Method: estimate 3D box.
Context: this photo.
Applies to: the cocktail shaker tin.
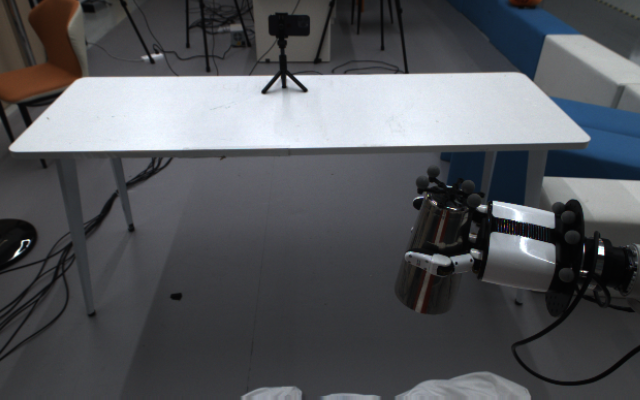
[{"bbox_3d":[0.166,0.067,0.686,0.093,0.170,0.093,4,32,-2],"label":"cocktail shaker tin"}]
